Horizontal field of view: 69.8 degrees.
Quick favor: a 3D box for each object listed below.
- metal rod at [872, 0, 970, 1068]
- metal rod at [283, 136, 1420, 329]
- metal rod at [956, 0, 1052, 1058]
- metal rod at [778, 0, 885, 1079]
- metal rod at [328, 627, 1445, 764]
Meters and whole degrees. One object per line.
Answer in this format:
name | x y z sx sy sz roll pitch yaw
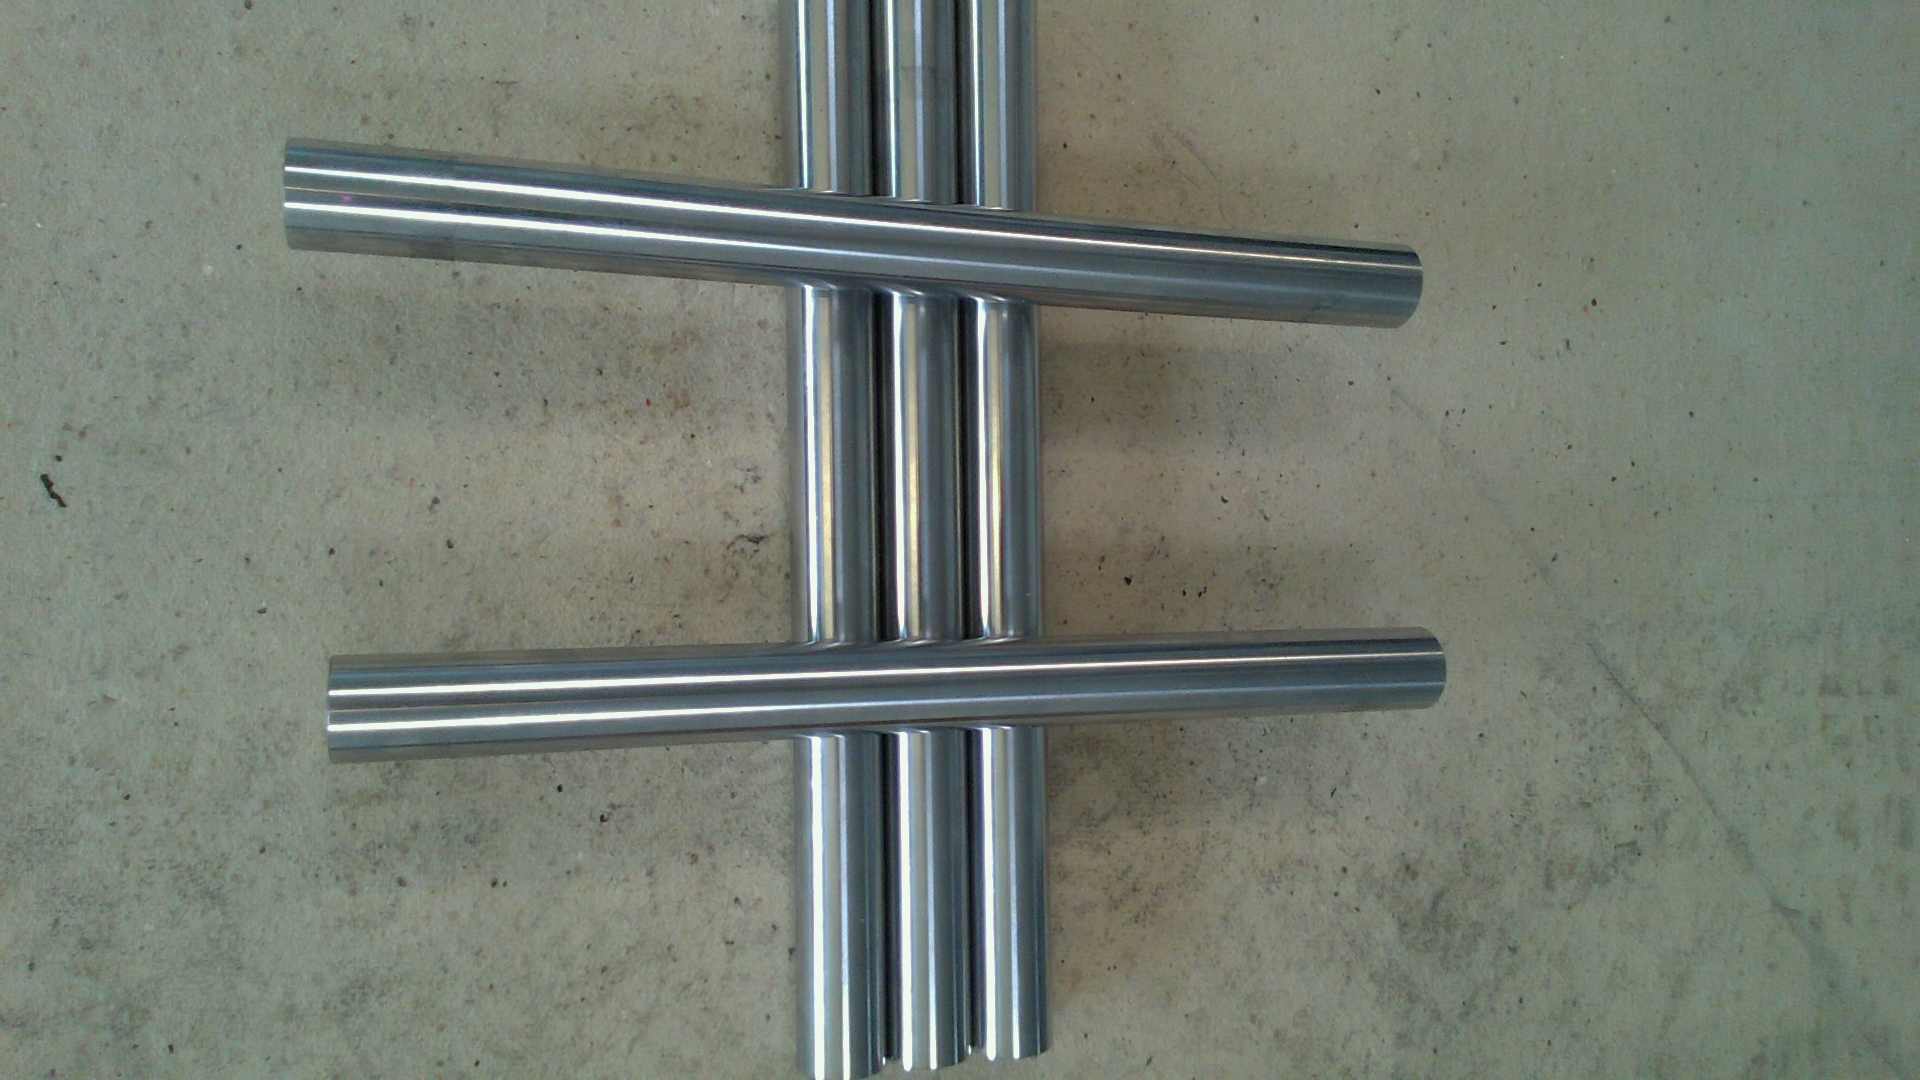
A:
metal rod | -0.012 -0.005 0.389 0.025 0.025 0.300 -1 90 -20
metal rod | -0.010 -0.077 0.363 0.301 0.025 0.025 0 90 -20
metal rod | 0.012 -0.005 0.398 0.025 0.025 0.300 -1 90 -20
metal rod | -0.036 -0.005 0.380 0.025 0.025 0.300 -1 91 -20
metal rod | -0.002 0.039 0.366 0.301 0.025 0.025 0 90 -20
